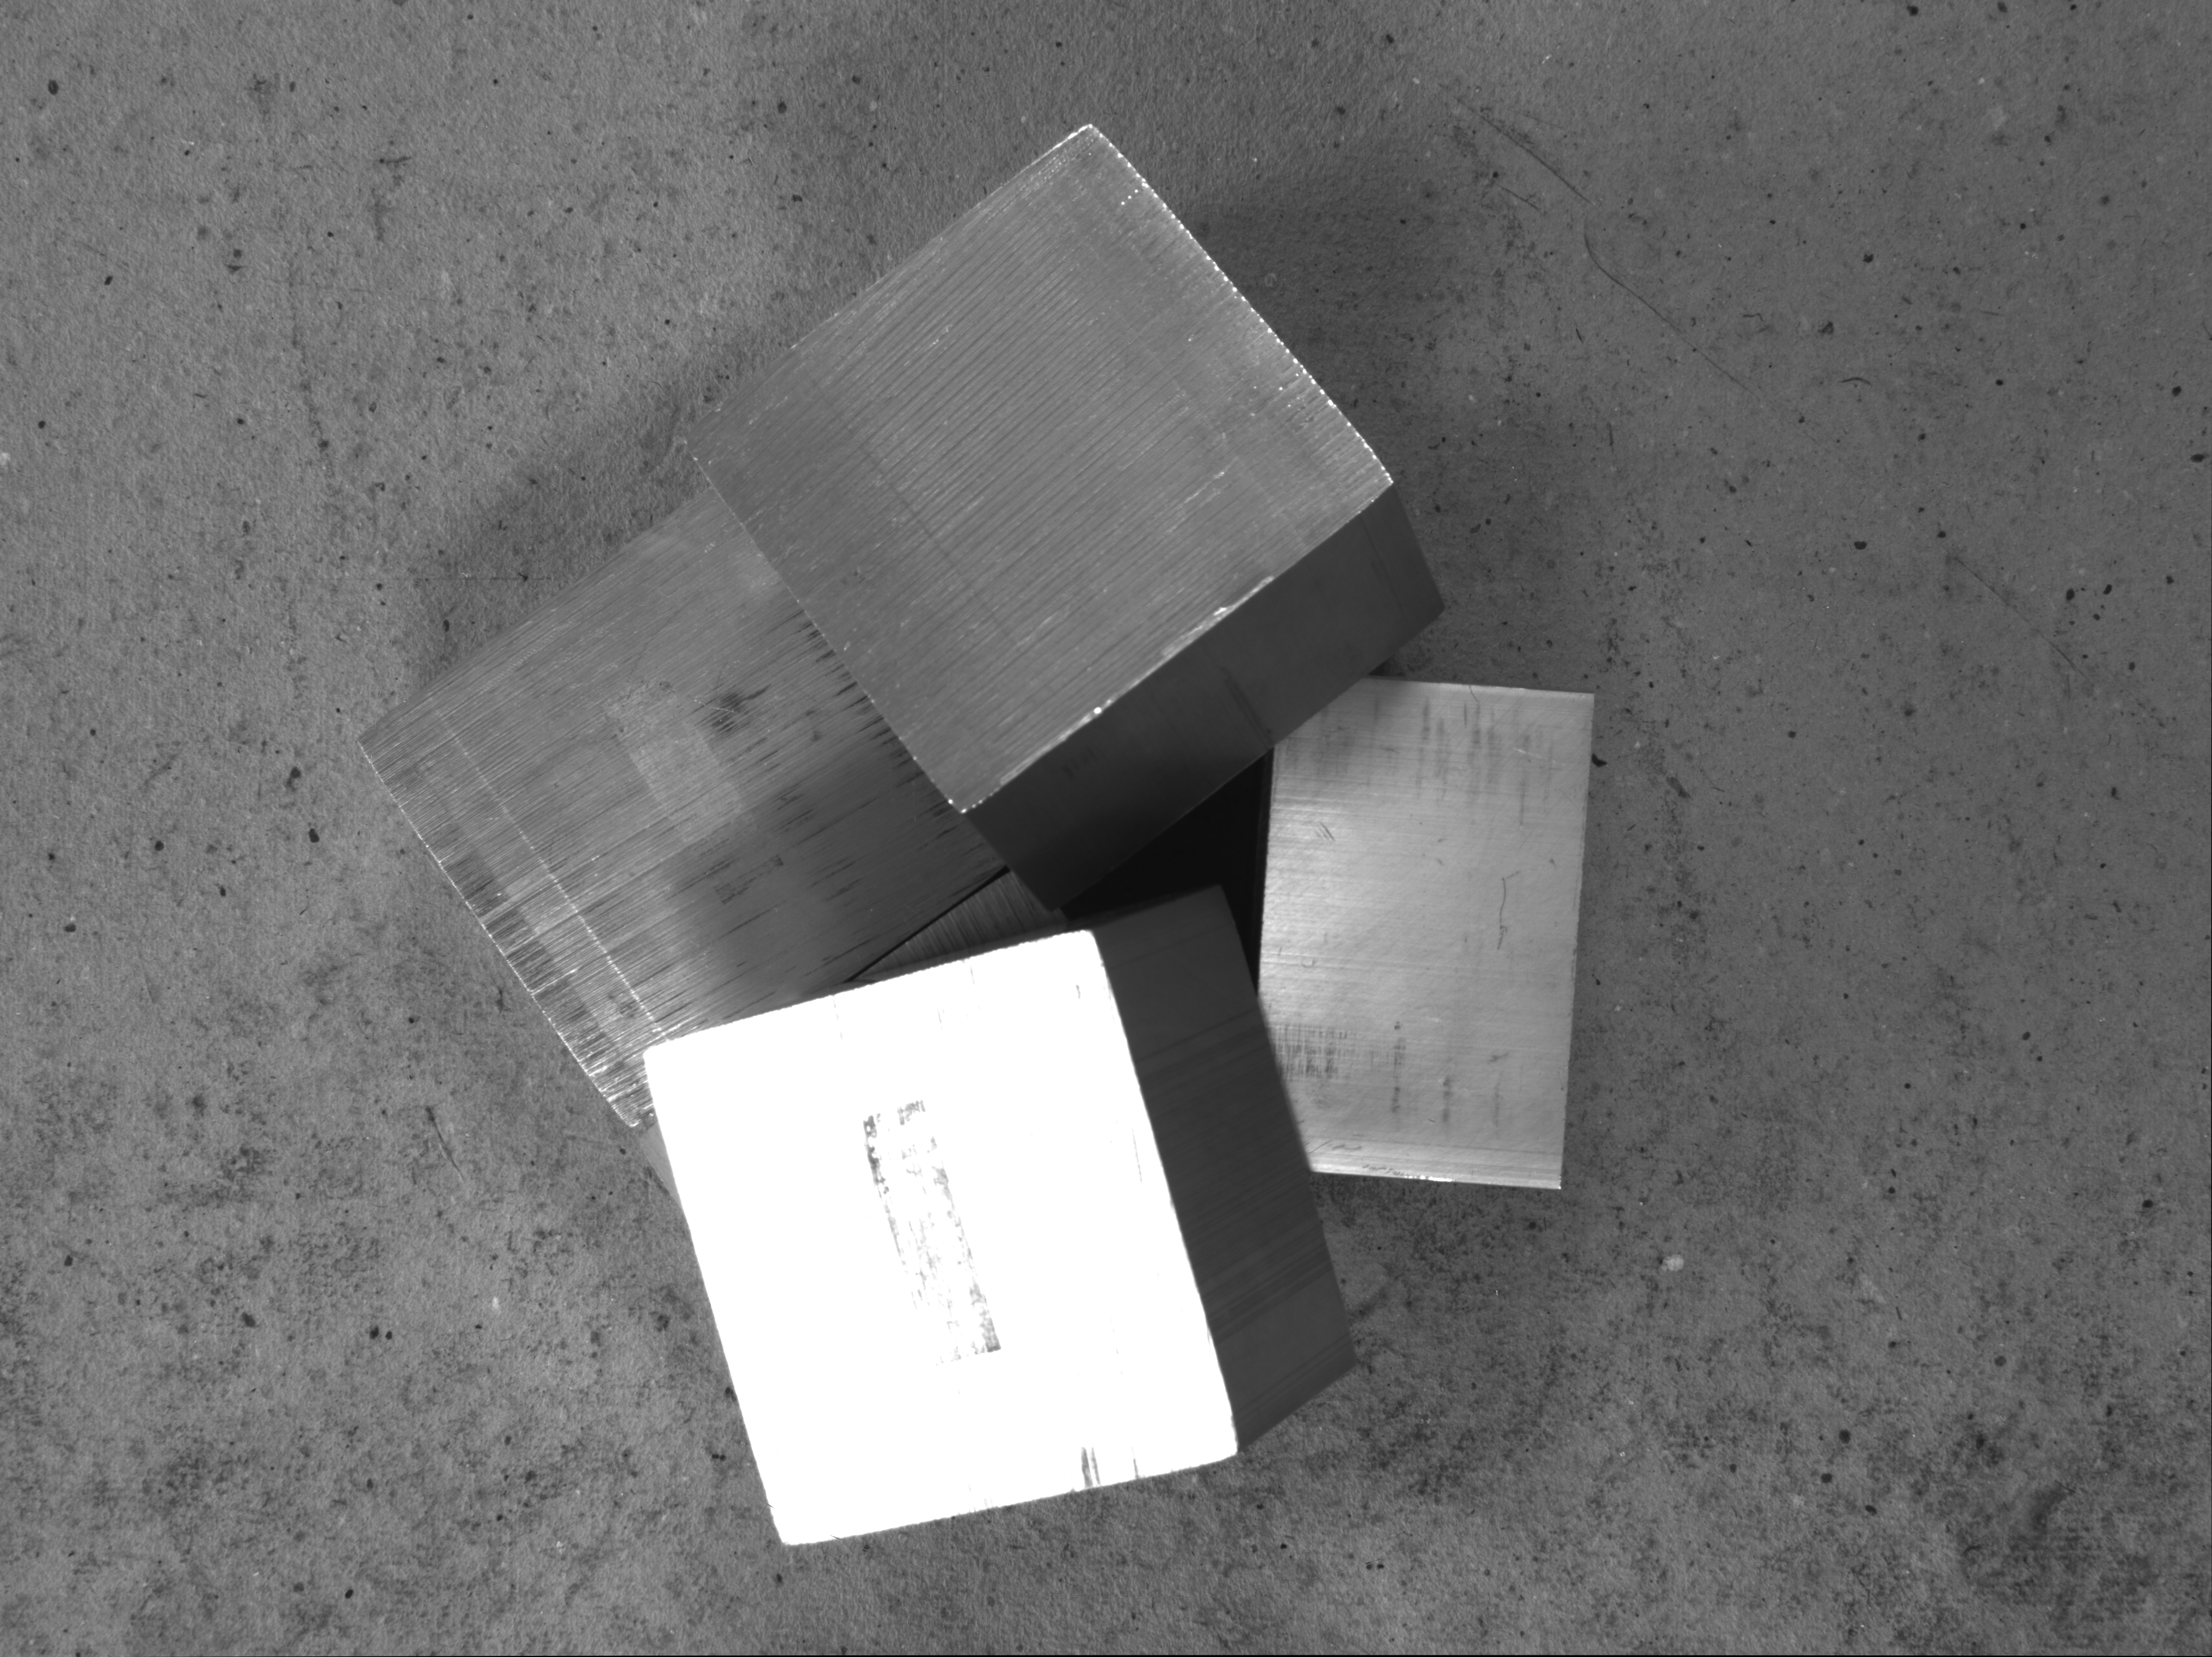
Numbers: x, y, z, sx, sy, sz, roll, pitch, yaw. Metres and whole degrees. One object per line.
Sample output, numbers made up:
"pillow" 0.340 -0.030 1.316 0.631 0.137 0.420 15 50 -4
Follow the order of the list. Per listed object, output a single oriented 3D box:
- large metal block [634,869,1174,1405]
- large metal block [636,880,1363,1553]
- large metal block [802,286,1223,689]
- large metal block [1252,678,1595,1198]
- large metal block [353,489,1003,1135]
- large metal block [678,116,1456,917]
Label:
"large metal block" -0.022 0.060 0.634 0.080 0.050 0.080 -36 90 0
"large metal block" -0.016 0.060 0.568 0.080 0.050 0.080 -16 90 25
"large metal block" -0.005 -0.053 0.631 0.080 0.050 0.080 -36 90 -1
"large metal block" 0.050 0.017 0.618 0.050 0.080 0.080 4 90 0
"large metal block" -0.069 -0.005 0.634 0.080 0.050 0.080 -36 90 0
"large metal block" -0.005 -0.047 0.567 0.080 0.050 0.080 -37 67 0
